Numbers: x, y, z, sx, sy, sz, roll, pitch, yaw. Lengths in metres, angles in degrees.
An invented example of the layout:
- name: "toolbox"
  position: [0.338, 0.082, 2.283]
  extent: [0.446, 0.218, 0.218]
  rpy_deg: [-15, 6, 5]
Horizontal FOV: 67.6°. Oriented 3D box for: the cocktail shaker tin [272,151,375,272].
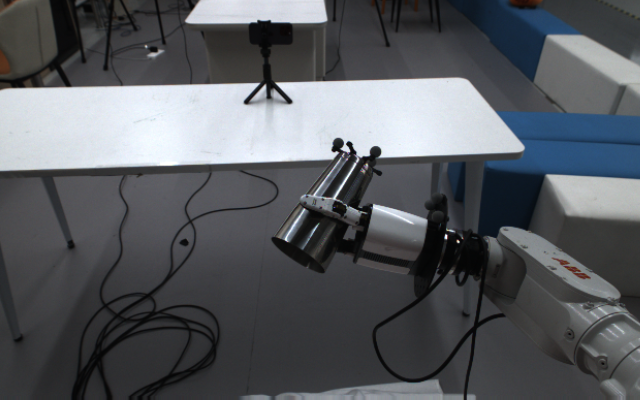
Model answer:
- name: "cocktail shaker tin"
  position: [0.010, 0.008, 0.724]
  extent: [0.093, 0.093, 0.170]
  rpy_deg: [22, 66, 26]
